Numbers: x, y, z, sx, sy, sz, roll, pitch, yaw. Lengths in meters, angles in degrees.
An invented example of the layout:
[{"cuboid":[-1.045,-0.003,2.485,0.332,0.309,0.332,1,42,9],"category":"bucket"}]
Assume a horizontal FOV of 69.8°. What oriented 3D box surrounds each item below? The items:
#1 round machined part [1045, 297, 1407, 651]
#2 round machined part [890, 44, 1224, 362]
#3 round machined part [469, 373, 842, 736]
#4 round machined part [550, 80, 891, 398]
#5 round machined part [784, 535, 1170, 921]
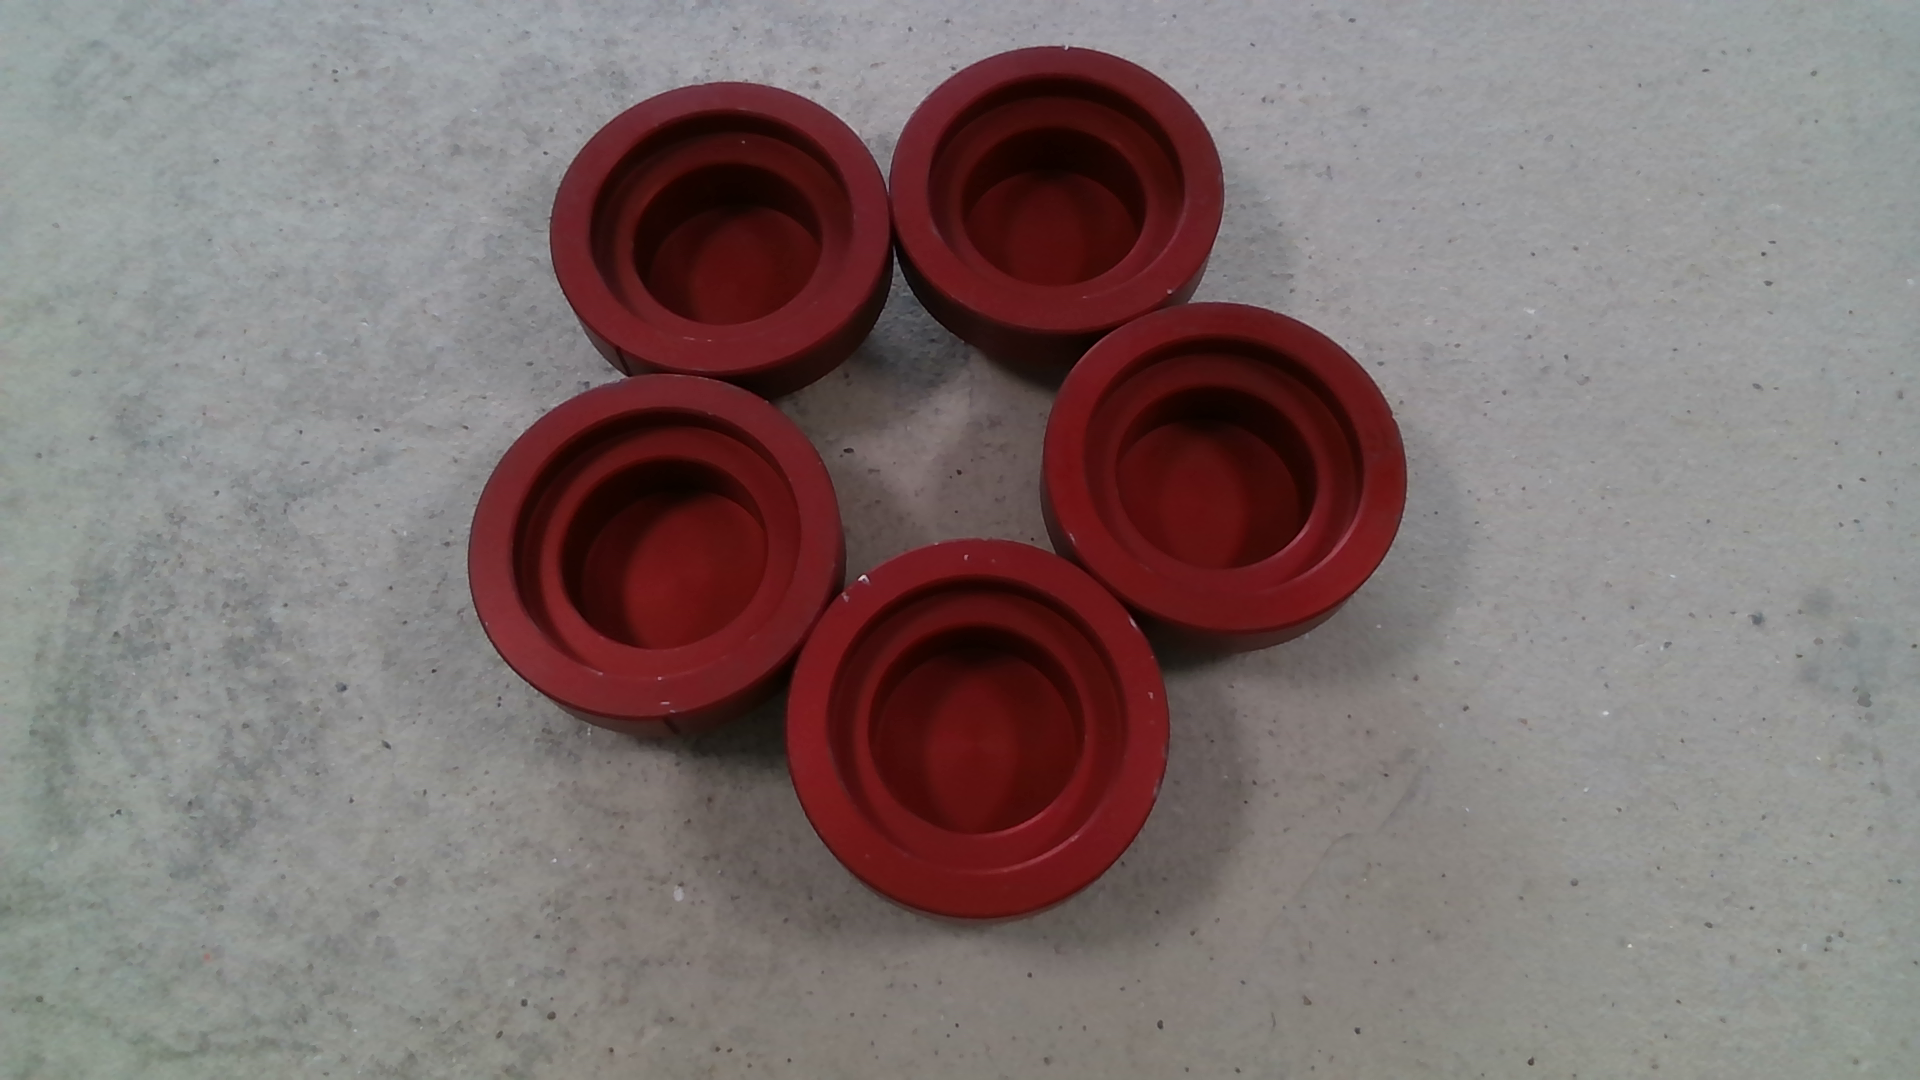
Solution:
[{"cuboid":[0.072,-0.016,0.391,0.098,0.042,0.098,0,72,-1],"category":"round machined part"},{"cuboid":[0.028,-0.098,0.421,0.098,0.042,0.098,0,71,-1],"category":"round machined part"},{"cuboid":[-0.081,0.006,0.385,0.098,0.042,0.098,0,71,-1],"category":"round machined part"},{"cuboid":[-0.070,-0.086,0.417,0.098,0.042,0.098,0,72,-1],"category":"round machined part"},{"cuboid":[0.004,0.051,0.368,0.098,0.042,0.098,0,72,-1],"category":"round machined part"}]
